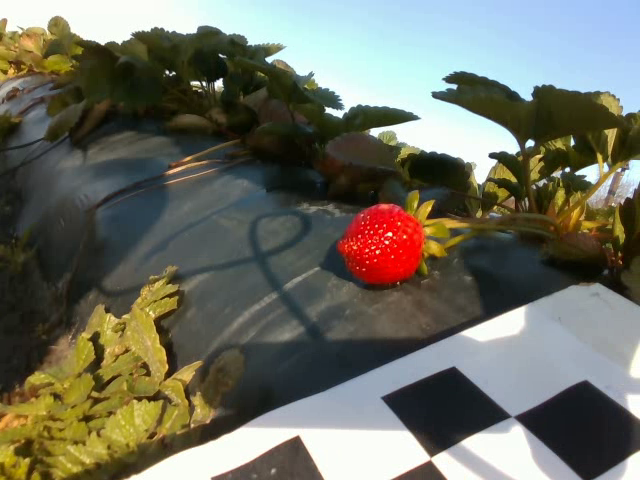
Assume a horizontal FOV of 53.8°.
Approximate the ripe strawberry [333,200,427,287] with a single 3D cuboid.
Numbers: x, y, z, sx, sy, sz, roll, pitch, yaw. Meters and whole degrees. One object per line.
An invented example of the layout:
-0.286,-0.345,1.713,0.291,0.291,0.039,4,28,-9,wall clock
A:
0.021,0.002,0.244,0.044,0.037,0.040,-17,26,-41,ripe strawberry
